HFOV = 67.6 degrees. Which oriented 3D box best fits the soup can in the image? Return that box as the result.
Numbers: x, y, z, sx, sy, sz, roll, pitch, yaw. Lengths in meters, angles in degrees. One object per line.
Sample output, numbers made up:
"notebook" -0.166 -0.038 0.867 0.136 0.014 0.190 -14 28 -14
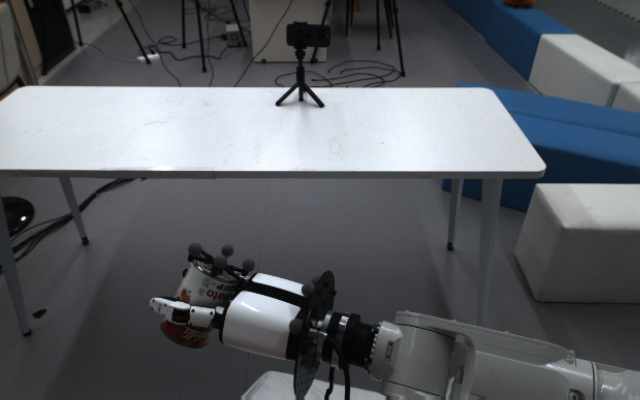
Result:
"soup can" -0.157 0.134 0.636 0.067 0.101 0.067 27 6 -3
